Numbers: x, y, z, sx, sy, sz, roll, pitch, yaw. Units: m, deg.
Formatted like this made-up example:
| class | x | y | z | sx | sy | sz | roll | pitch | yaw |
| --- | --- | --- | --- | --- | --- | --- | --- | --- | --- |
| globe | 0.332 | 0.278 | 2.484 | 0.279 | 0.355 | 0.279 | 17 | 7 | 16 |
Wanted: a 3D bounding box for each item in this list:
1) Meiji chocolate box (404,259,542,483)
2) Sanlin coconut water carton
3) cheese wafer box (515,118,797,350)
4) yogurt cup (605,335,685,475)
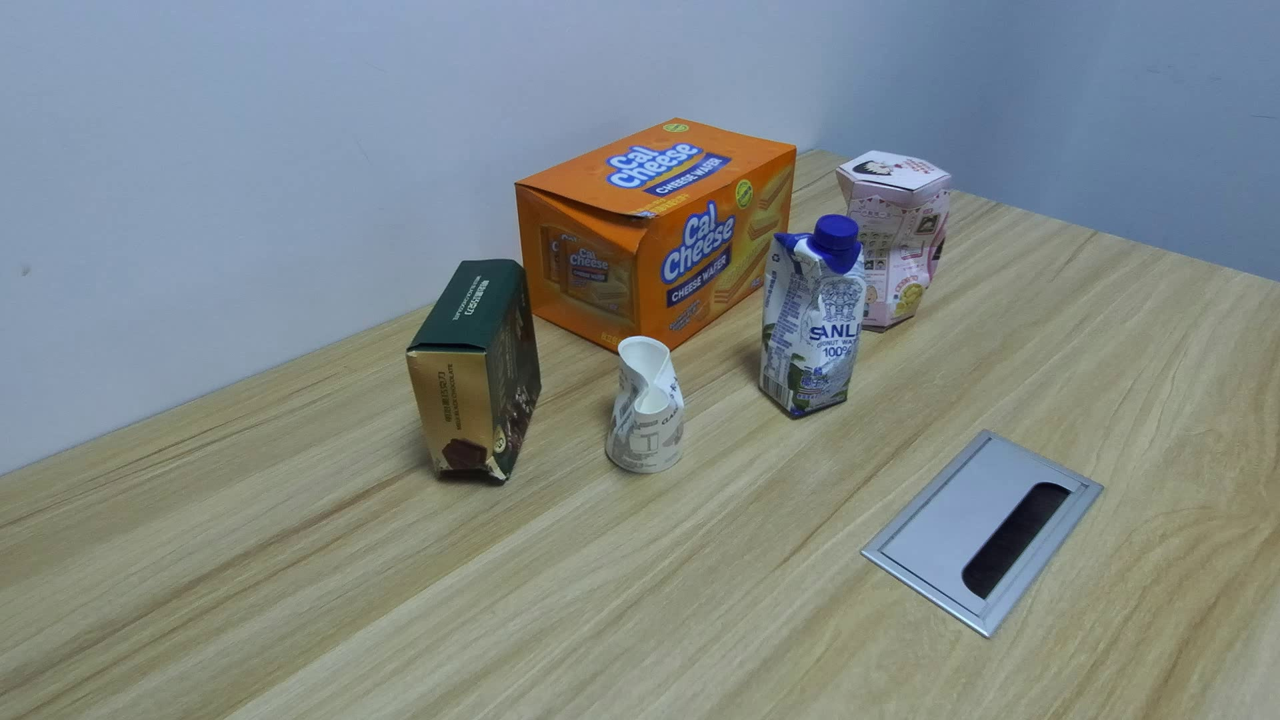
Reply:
| class | x | y | z | sx | sy | sz | roll | pitch | yaw |
| --- | --- | --- | --- | --- | --- | --- | --- | --- | --- |
| Meiji chocolate box | -0.111 | 0.006 | 0.492 | 0.058 | 0.116 | 0.122 | 4 | 35 | 5 |
| Sanlin coconut water carton | 0.126 | -0.037 | 0.516 | 0.057 | 0.145 | 0.068 | -13 | 29 | -28 |
| cheese wafer box | 0.021 | -0.119 | 0.642 | 0.149 | 0.137 | 0.228 | 26 | 43 | 32 |
| yogurt cup | 0.003 | 0.034 | 0.479 | 0.054 | 0.071 | 0.075 | -22 | 40 | -26 |
